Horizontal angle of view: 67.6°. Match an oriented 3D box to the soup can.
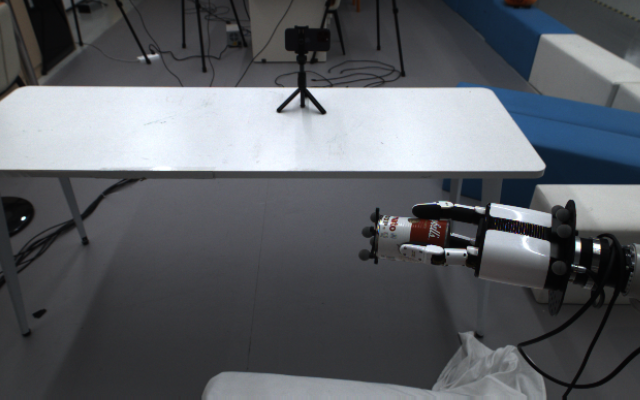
[{"bbox_3d":[0.142,0.059,0.721,0.101,0.067,0.067,4,34,18],"label":"soup can"}]
